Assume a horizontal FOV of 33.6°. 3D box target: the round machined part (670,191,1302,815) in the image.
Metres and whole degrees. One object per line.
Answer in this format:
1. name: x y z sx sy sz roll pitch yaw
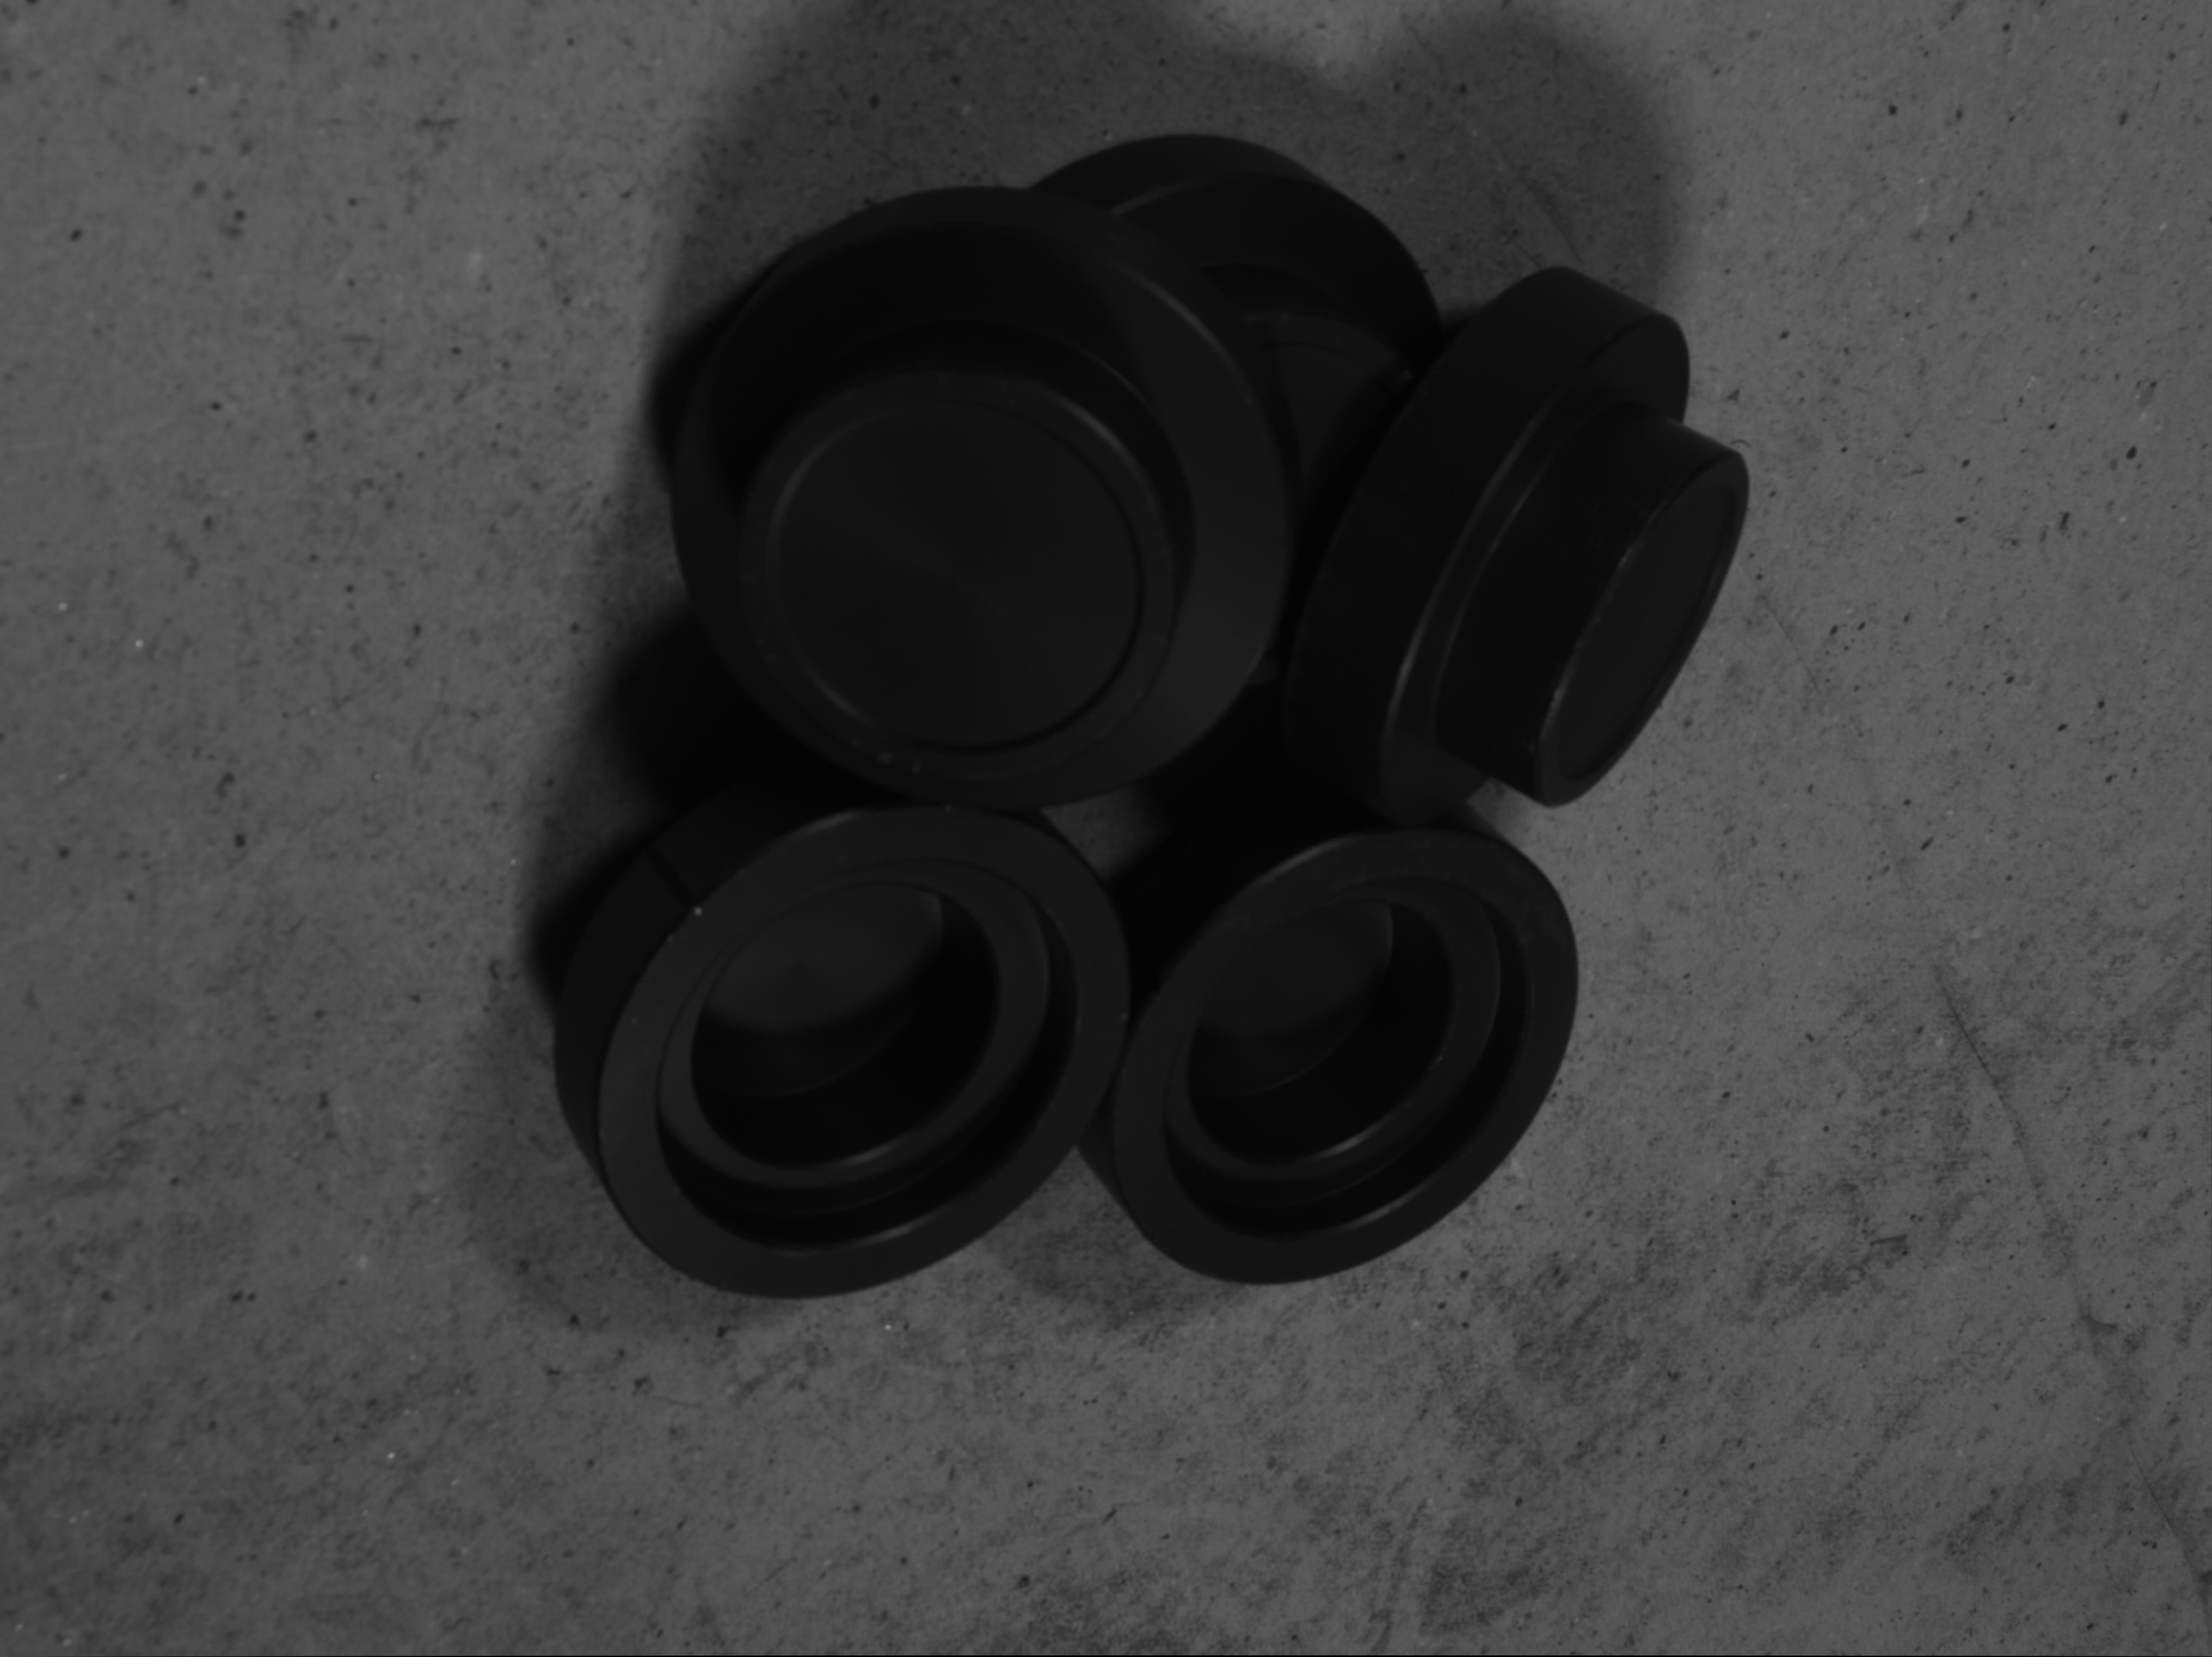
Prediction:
1. round machined part: -0.020 -0.046 0.569 0.098 0.042 0.098 3 116 6

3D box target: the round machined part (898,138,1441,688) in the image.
1. round machined part: 0.015 -0.061 0.610 0.098 0.042 0.098 -15 125 -22

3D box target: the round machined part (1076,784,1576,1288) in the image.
1. round machined part: 0.035 0.033 0.681 0.098 0.042 0.098 -15 125 -22

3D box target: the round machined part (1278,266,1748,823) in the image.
1. round machined part: 0.074 -0.043 0.628 0.098 0.042 0.098 -47 156 -28

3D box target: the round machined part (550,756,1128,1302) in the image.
1. round machined part: -0.049 0.029 0.629 0.098 0.042 0.098 -15 125 -22
